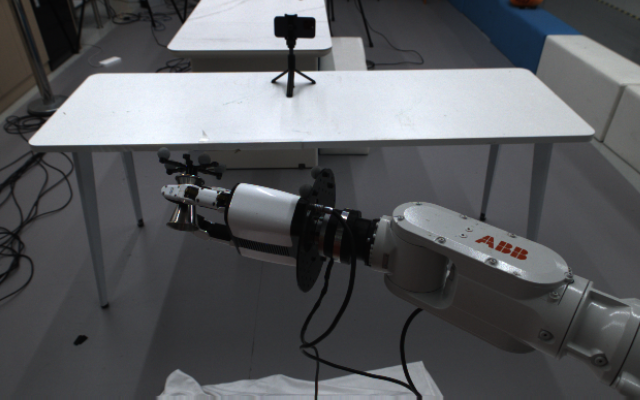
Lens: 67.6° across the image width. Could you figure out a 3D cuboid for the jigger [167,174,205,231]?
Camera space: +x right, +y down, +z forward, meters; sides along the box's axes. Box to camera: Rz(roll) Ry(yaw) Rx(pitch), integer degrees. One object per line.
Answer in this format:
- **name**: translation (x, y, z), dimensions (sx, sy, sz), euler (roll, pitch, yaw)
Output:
- **jigger**: translation (-0.181, 0.004, 0.654), dimensions (0.043, 0.043, 0.071), euler (3, 72, 1)
